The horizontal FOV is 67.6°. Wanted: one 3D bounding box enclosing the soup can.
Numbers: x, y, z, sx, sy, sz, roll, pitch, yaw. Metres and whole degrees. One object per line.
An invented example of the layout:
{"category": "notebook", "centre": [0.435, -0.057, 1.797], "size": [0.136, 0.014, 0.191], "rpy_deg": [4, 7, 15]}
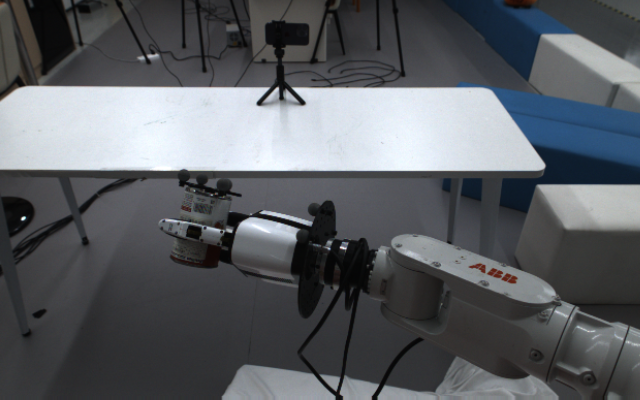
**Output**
{"category": "soup can", "centre": [-0.166, 0.040, 0.679], "size": [0.067, 0.101, 0.067], "rpy_deg": [13, 0, 0]}
